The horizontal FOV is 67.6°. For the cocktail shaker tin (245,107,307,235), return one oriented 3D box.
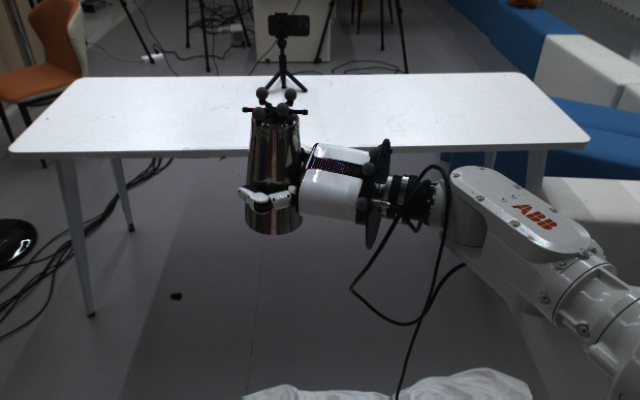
[{"bbox_3d":[-0.065,-0.045,0.708,0.093,0.170,0.093,3,34,-2],"label":"cocktail shaker tin"}]
